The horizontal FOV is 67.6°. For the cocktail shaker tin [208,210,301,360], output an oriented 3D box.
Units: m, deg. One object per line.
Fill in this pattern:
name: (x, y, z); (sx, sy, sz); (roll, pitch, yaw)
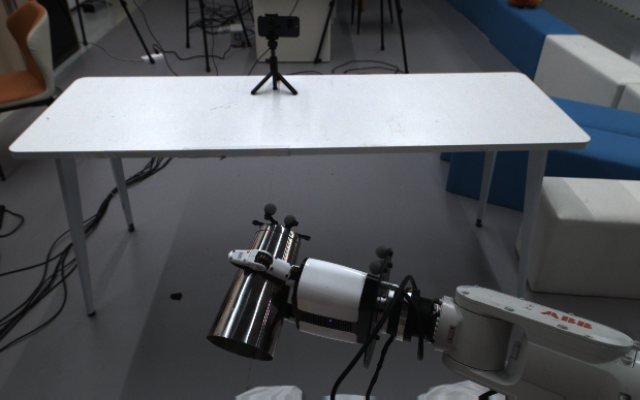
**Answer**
cocktail shaker tin: (-0.078, 0.122, 0.663); (0.093, 0.093, 0.170); (10, 59, 11)
